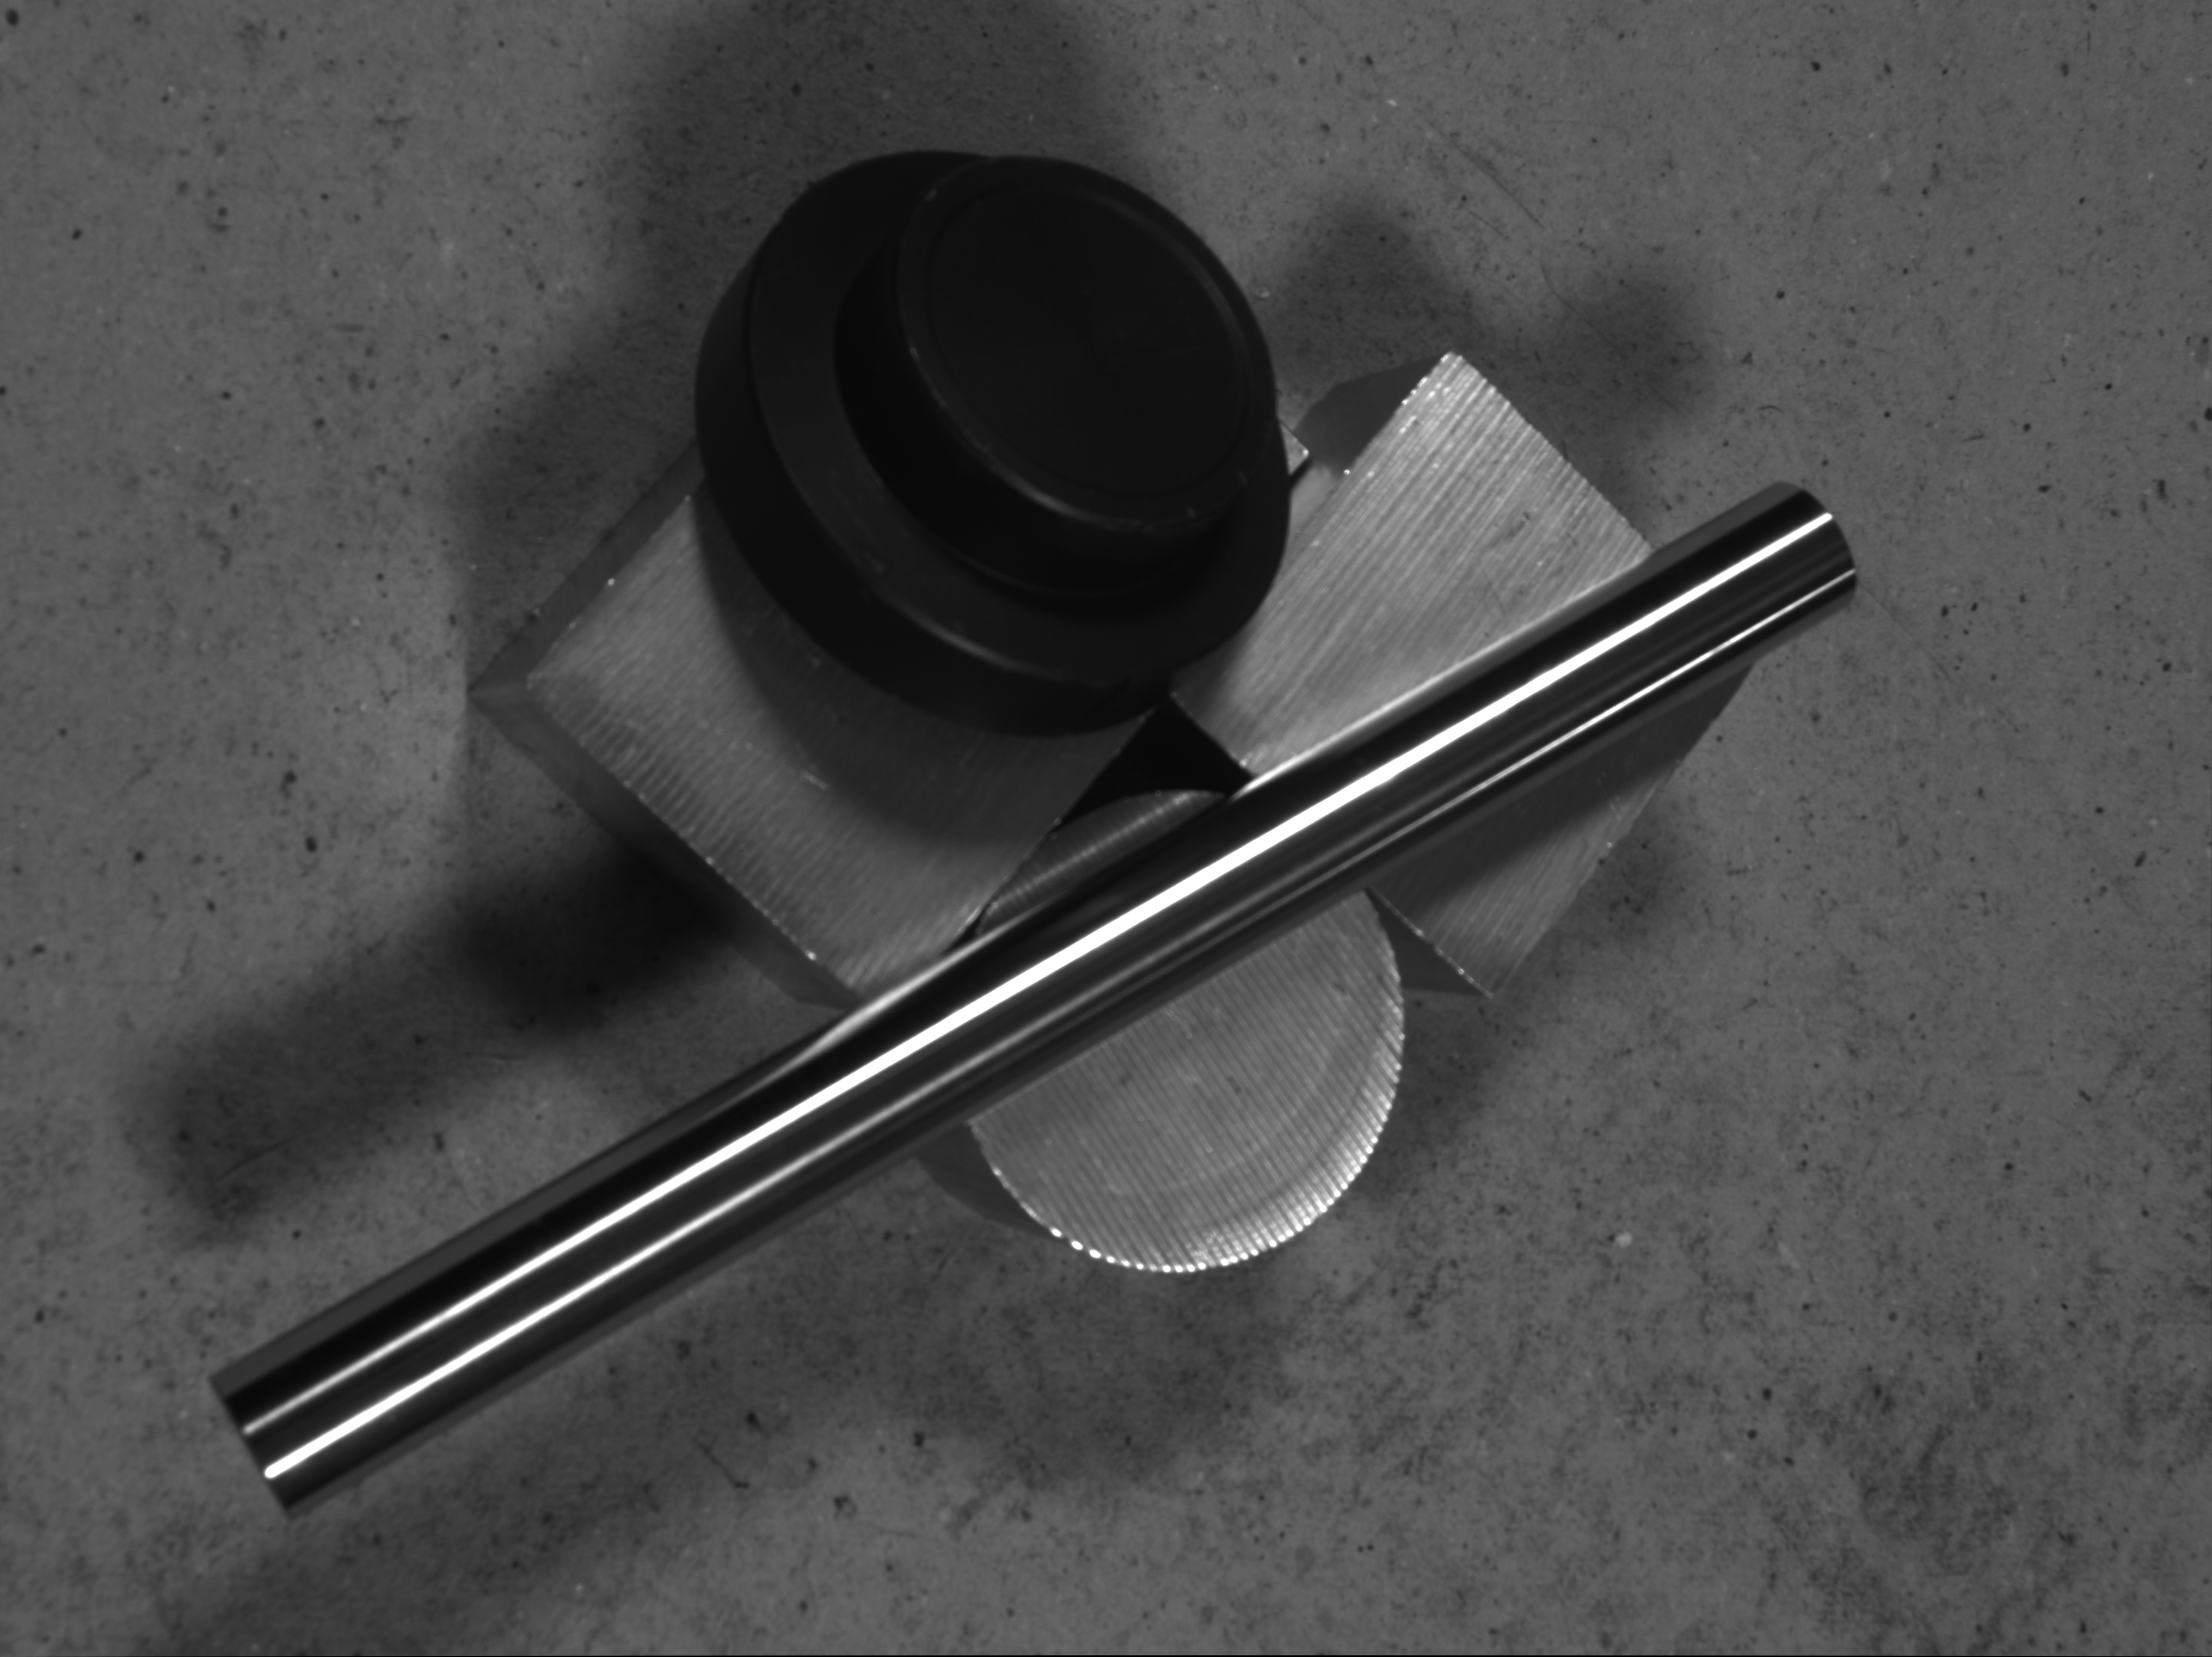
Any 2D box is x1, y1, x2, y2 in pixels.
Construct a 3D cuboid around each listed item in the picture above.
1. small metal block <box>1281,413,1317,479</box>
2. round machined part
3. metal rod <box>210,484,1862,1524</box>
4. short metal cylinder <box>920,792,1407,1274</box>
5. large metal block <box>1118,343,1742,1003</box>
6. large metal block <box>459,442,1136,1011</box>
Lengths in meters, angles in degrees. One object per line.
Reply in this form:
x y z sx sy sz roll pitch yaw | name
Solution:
0.000 -0.065 0.643 0.050 0.025 0.050 45 76 -14 | small metal block
-0.012 -0.067 0.583 0.098 0.042 0.098 15 57 -25 | round machined part
-0.002 0.022 0.589 0.300 0.025 0.025 -29 100 -17 | metal rod
0.005 0.034 0.631 0.080 0.050 0.080 0 90 -20 | short metal cylinder
0.054 -0.027 0.650 0.080 0.050 0.080 43 76 -15 | large metal block
-0.047 -0.025 0.612 0.080 0.050 0.080 44 76 -15 | large metal block
